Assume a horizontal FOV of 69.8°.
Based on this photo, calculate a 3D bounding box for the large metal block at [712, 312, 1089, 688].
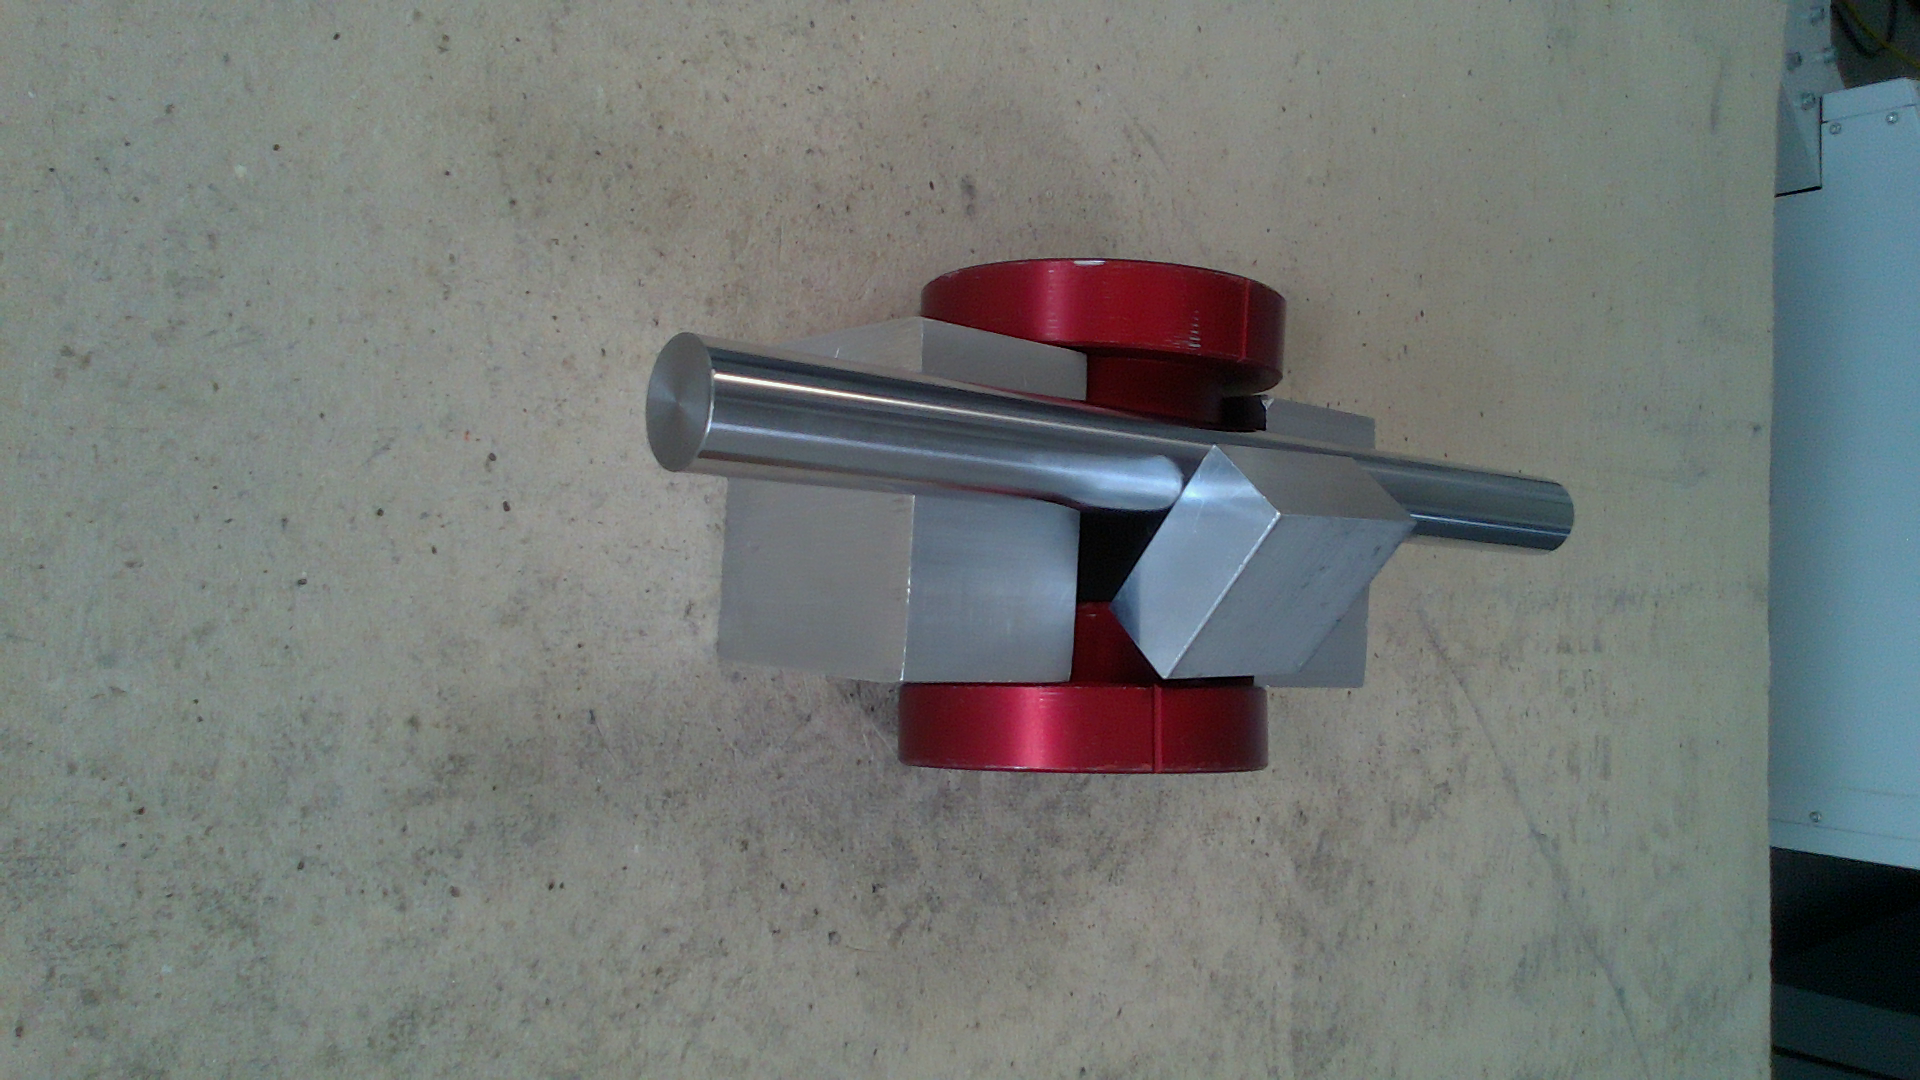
[{"bbox_3d":[-0.016,-0.007,0.340,0.050,0.080,0.080,6,86,-40],"label":"large metal block"}]

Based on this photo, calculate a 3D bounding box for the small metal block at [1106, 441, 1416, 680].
[{"bbox_3d":[0.071,0.006,0.327,0.050,0.025,0.050,2,129,-38],"label":"small metal block"}]

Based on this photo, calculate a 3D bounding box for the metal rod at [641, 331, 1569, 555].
[{"bbox_3d":[0.065,-0.016,0.339,0.301,0.025,0.025,4,87,-40],"label":"metal rod"}]

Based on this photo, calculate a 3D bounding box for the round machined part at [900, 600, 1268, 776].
[{"bbox_3d":[0.033,0.039,0.368,0.098,0.098,0.042,6,81,-40],"label":"round machined part"}]

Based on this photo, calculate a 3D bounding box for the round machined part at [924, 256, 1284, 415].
[{"bbox_3d":[0.037,-0.044,0.372,0.098,0.098,0.042,5,88,-40],"label":"round machined part"}]

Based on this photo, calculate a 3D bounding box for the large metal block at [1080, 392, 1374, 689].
[{"bbox_3d":[0.075,0.002,0.416,0.050,0.080,0.080,5,87,-40],"label":"large metal block"}]
